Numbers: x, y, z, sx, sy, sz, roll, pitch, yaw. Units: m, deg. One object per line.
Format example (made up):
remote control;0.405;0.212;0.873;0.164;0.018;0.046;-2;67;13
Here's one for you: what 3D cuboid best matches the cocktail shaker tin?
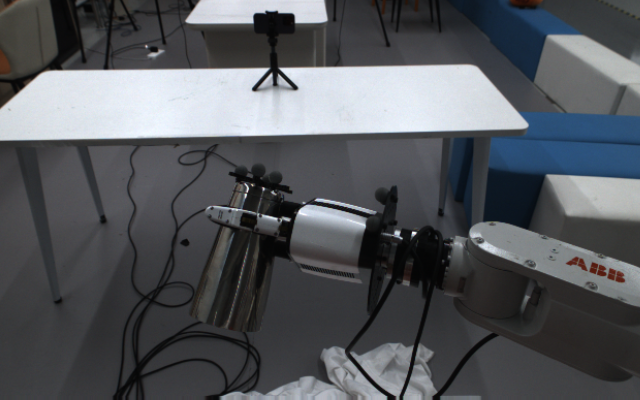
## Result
cocktail shaker tin;-0.096;0.066;0.612;0.093;0.170;0.093;15;-5;1
